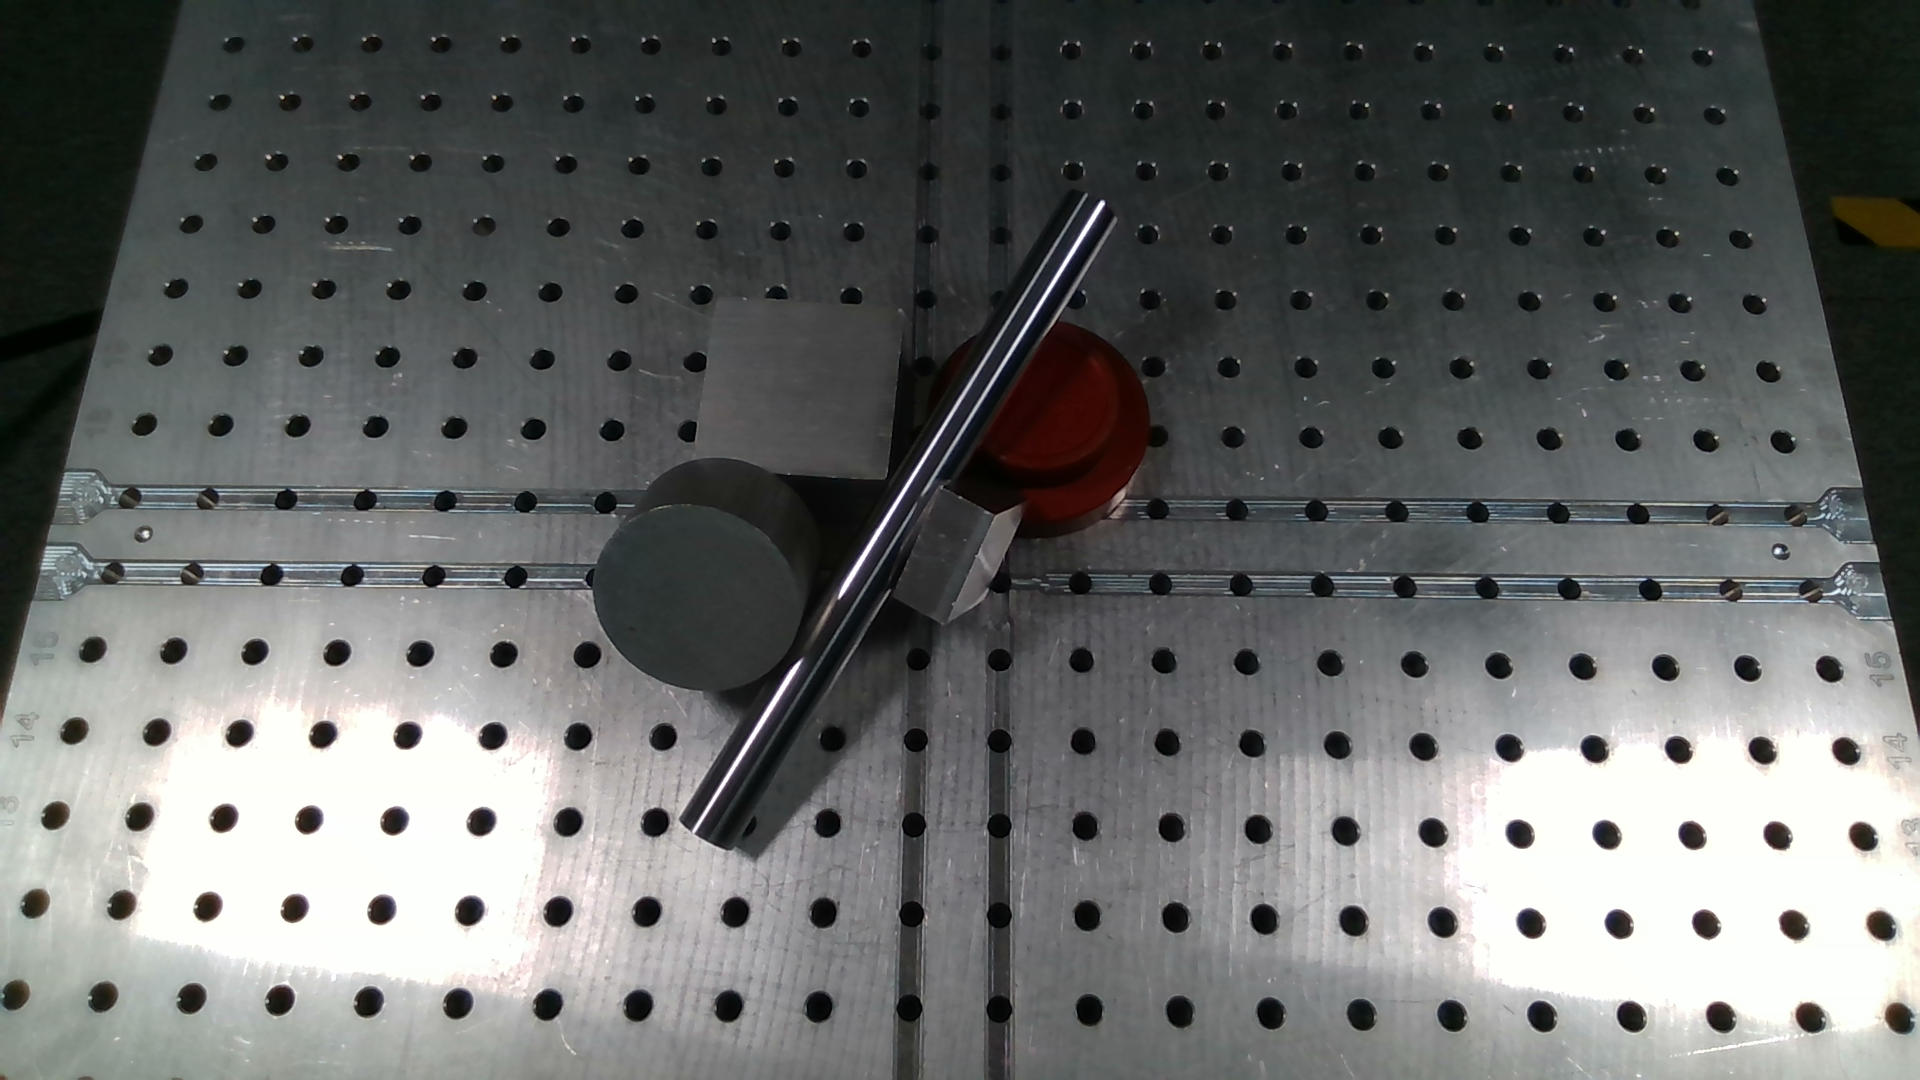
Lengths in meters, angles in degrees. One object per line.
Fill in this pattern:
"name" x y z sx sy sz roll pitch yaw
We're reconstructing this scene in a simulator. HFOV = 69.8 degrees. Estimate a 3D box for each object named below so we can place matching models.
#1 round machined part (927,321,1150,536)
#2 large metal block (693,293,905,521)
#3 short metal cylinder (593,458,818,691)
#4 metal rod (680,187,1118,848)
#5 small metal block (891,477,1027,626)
"round machined part" 0.034 -0.054 0.601 0.098 0.042 0.098 0 70 0
"large metal block" -0.066 -0.056 0.595 0.080 0.050 0.080 4 70 2
"short metal cylinder" -0.099 0.013 0.550 0.080 0.050 0.080 1 115 3
"metal rod" -0.023 -0.011 0.560 0.025 0.025 0.300 31 86 10
"small metal block" 0.001 0.003 0.566 0.025 0.050 0.050 28 107 13
